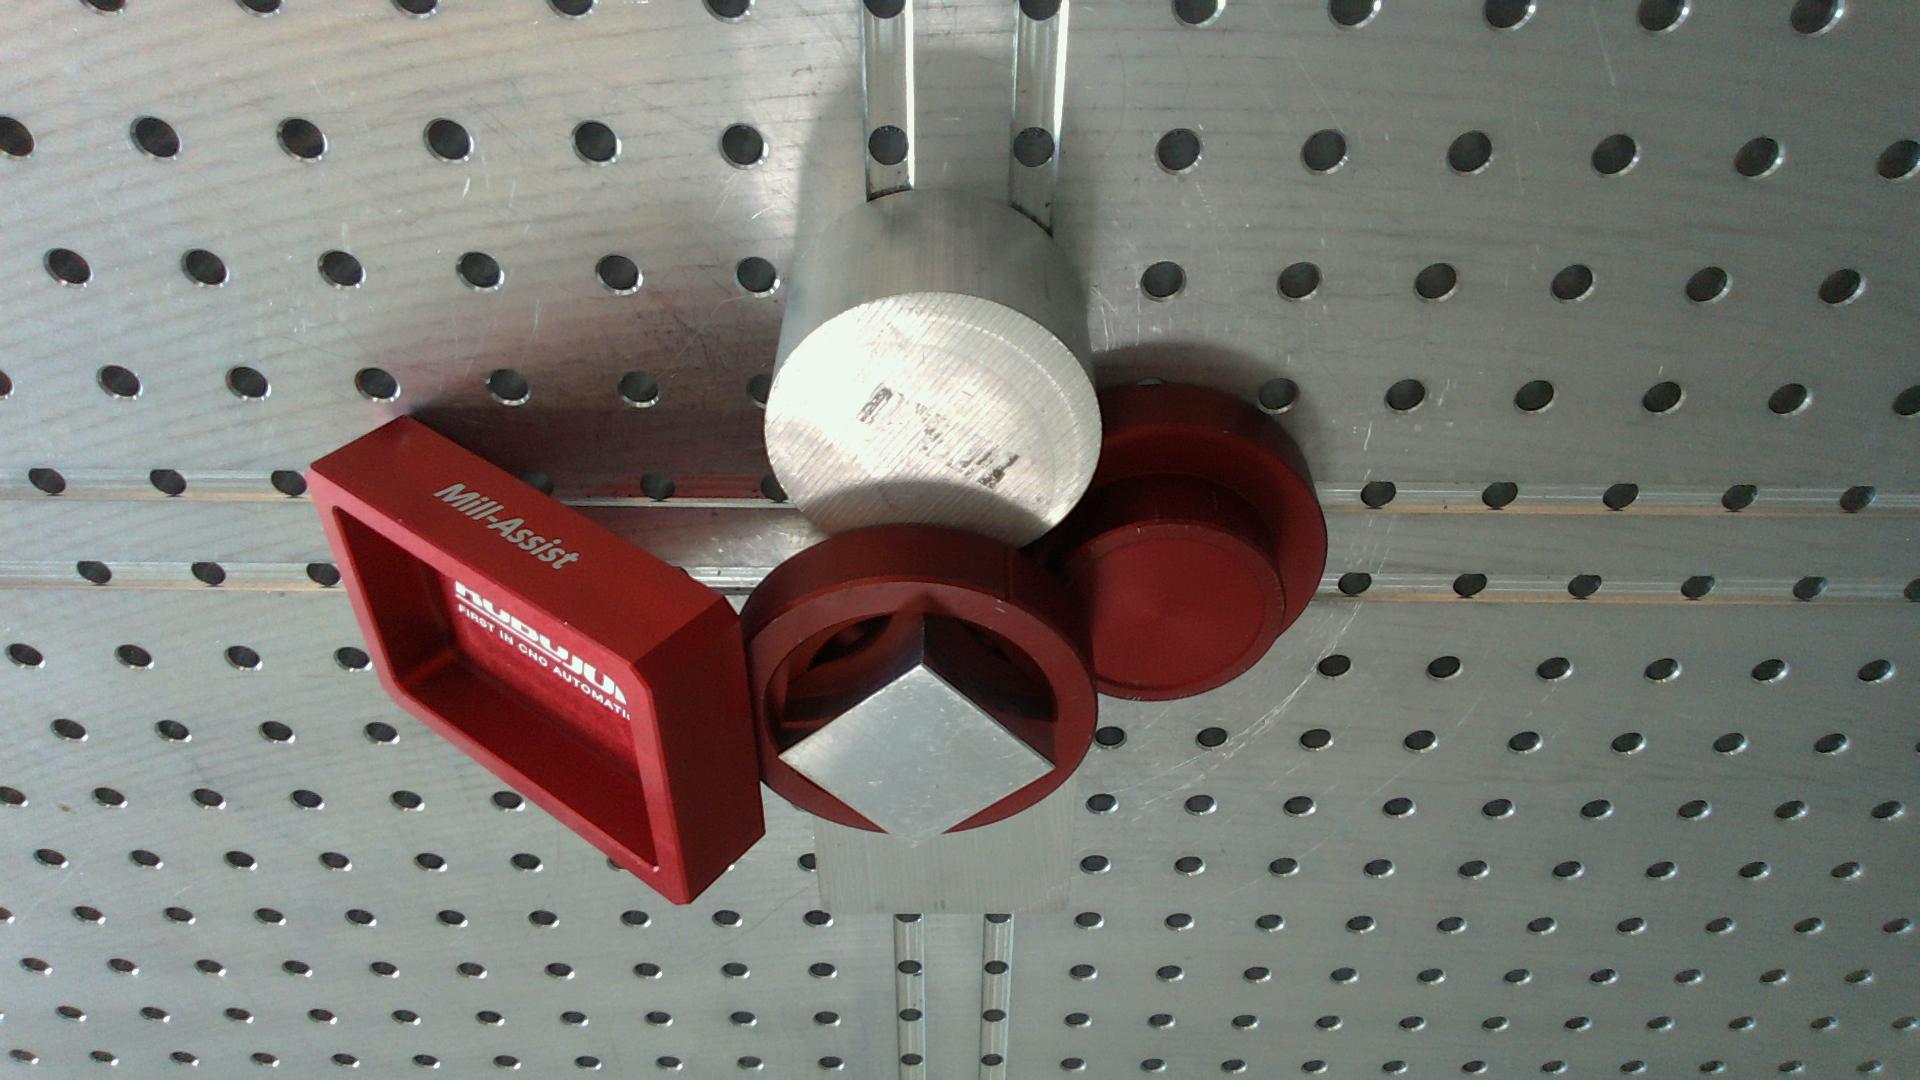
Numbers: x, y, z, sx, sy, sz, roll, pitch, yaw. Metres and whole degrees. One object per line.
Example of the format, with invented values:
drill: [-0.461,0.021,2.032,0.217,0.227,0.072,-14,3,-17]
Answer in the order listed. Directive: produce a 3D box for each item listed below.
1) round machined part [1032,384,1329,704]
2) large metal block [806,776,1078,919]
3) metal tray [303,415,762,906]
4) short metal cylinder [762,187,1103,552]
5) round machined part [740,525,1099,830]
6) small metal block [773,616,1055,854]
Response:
round machined part: [0.055,0.008,0.388,0.098,0.042,0.098,0,130,0]
large metal block: [-0.006,0.076,0.437,0.080,0.050,0.080,0,130,-1]
metal tray: [-0.114,0.031,0.369,0.130,0.030,0.090,26,136,27]
short metal cylinder: [-0.006,-0.040,0.343,0.080,0.050,0.080,0,130,0]
round machined part: [-0.013,0.033,0.372,0.098,0.042,0.098,0,130,0]
small metal block: [-0.011,0.049,0.354,0.050,0.025,0.050,-34,122,25]
